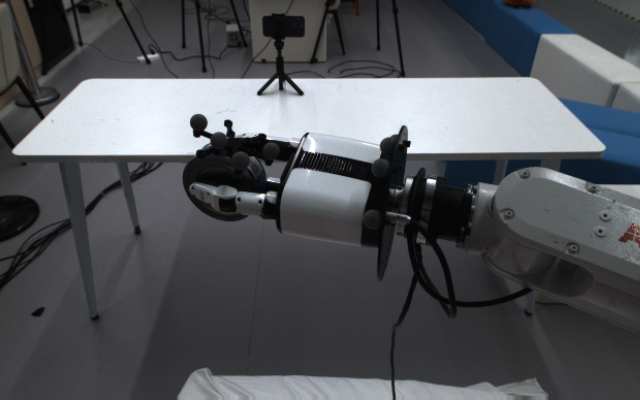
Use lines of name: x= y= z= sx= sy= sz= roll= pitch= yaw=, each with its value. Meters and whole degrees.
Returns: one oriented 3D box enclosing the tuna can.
tuna can: x=-0.101 y=-0.020 z=0.530 sx=0.085 sy=0.085 sz=0.034 roll=9 pitch=35 yaw=10
